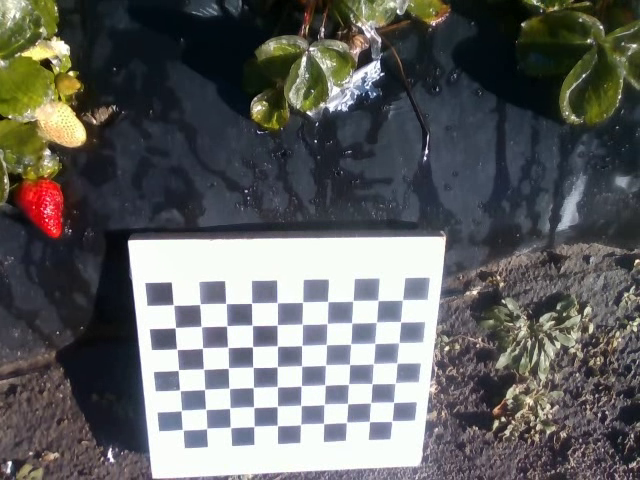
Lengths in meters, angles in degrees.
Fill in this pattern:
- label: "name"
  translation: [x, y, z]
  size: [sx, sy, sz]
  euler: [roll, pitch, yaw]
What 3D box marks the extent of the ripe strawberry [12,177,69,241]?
- label: "ripe strawberry"
  translation: [-0.235, -0.021, 0.536]
  size: [0.041, 0.052, 0.040]
  euler: [-18, 16, 0]
